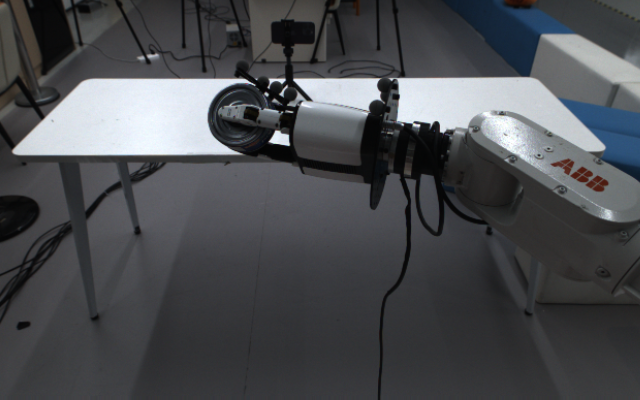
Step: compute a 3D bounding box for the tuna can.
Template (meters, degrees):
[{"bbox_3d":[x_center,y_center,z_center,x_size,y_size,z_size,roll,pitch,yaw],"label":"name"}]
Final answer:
[{"bbox_3d":[-0.098,-0.101,0.628,0.085,0.085,0.034,12,-5,15],"label":"tuna can"}]
